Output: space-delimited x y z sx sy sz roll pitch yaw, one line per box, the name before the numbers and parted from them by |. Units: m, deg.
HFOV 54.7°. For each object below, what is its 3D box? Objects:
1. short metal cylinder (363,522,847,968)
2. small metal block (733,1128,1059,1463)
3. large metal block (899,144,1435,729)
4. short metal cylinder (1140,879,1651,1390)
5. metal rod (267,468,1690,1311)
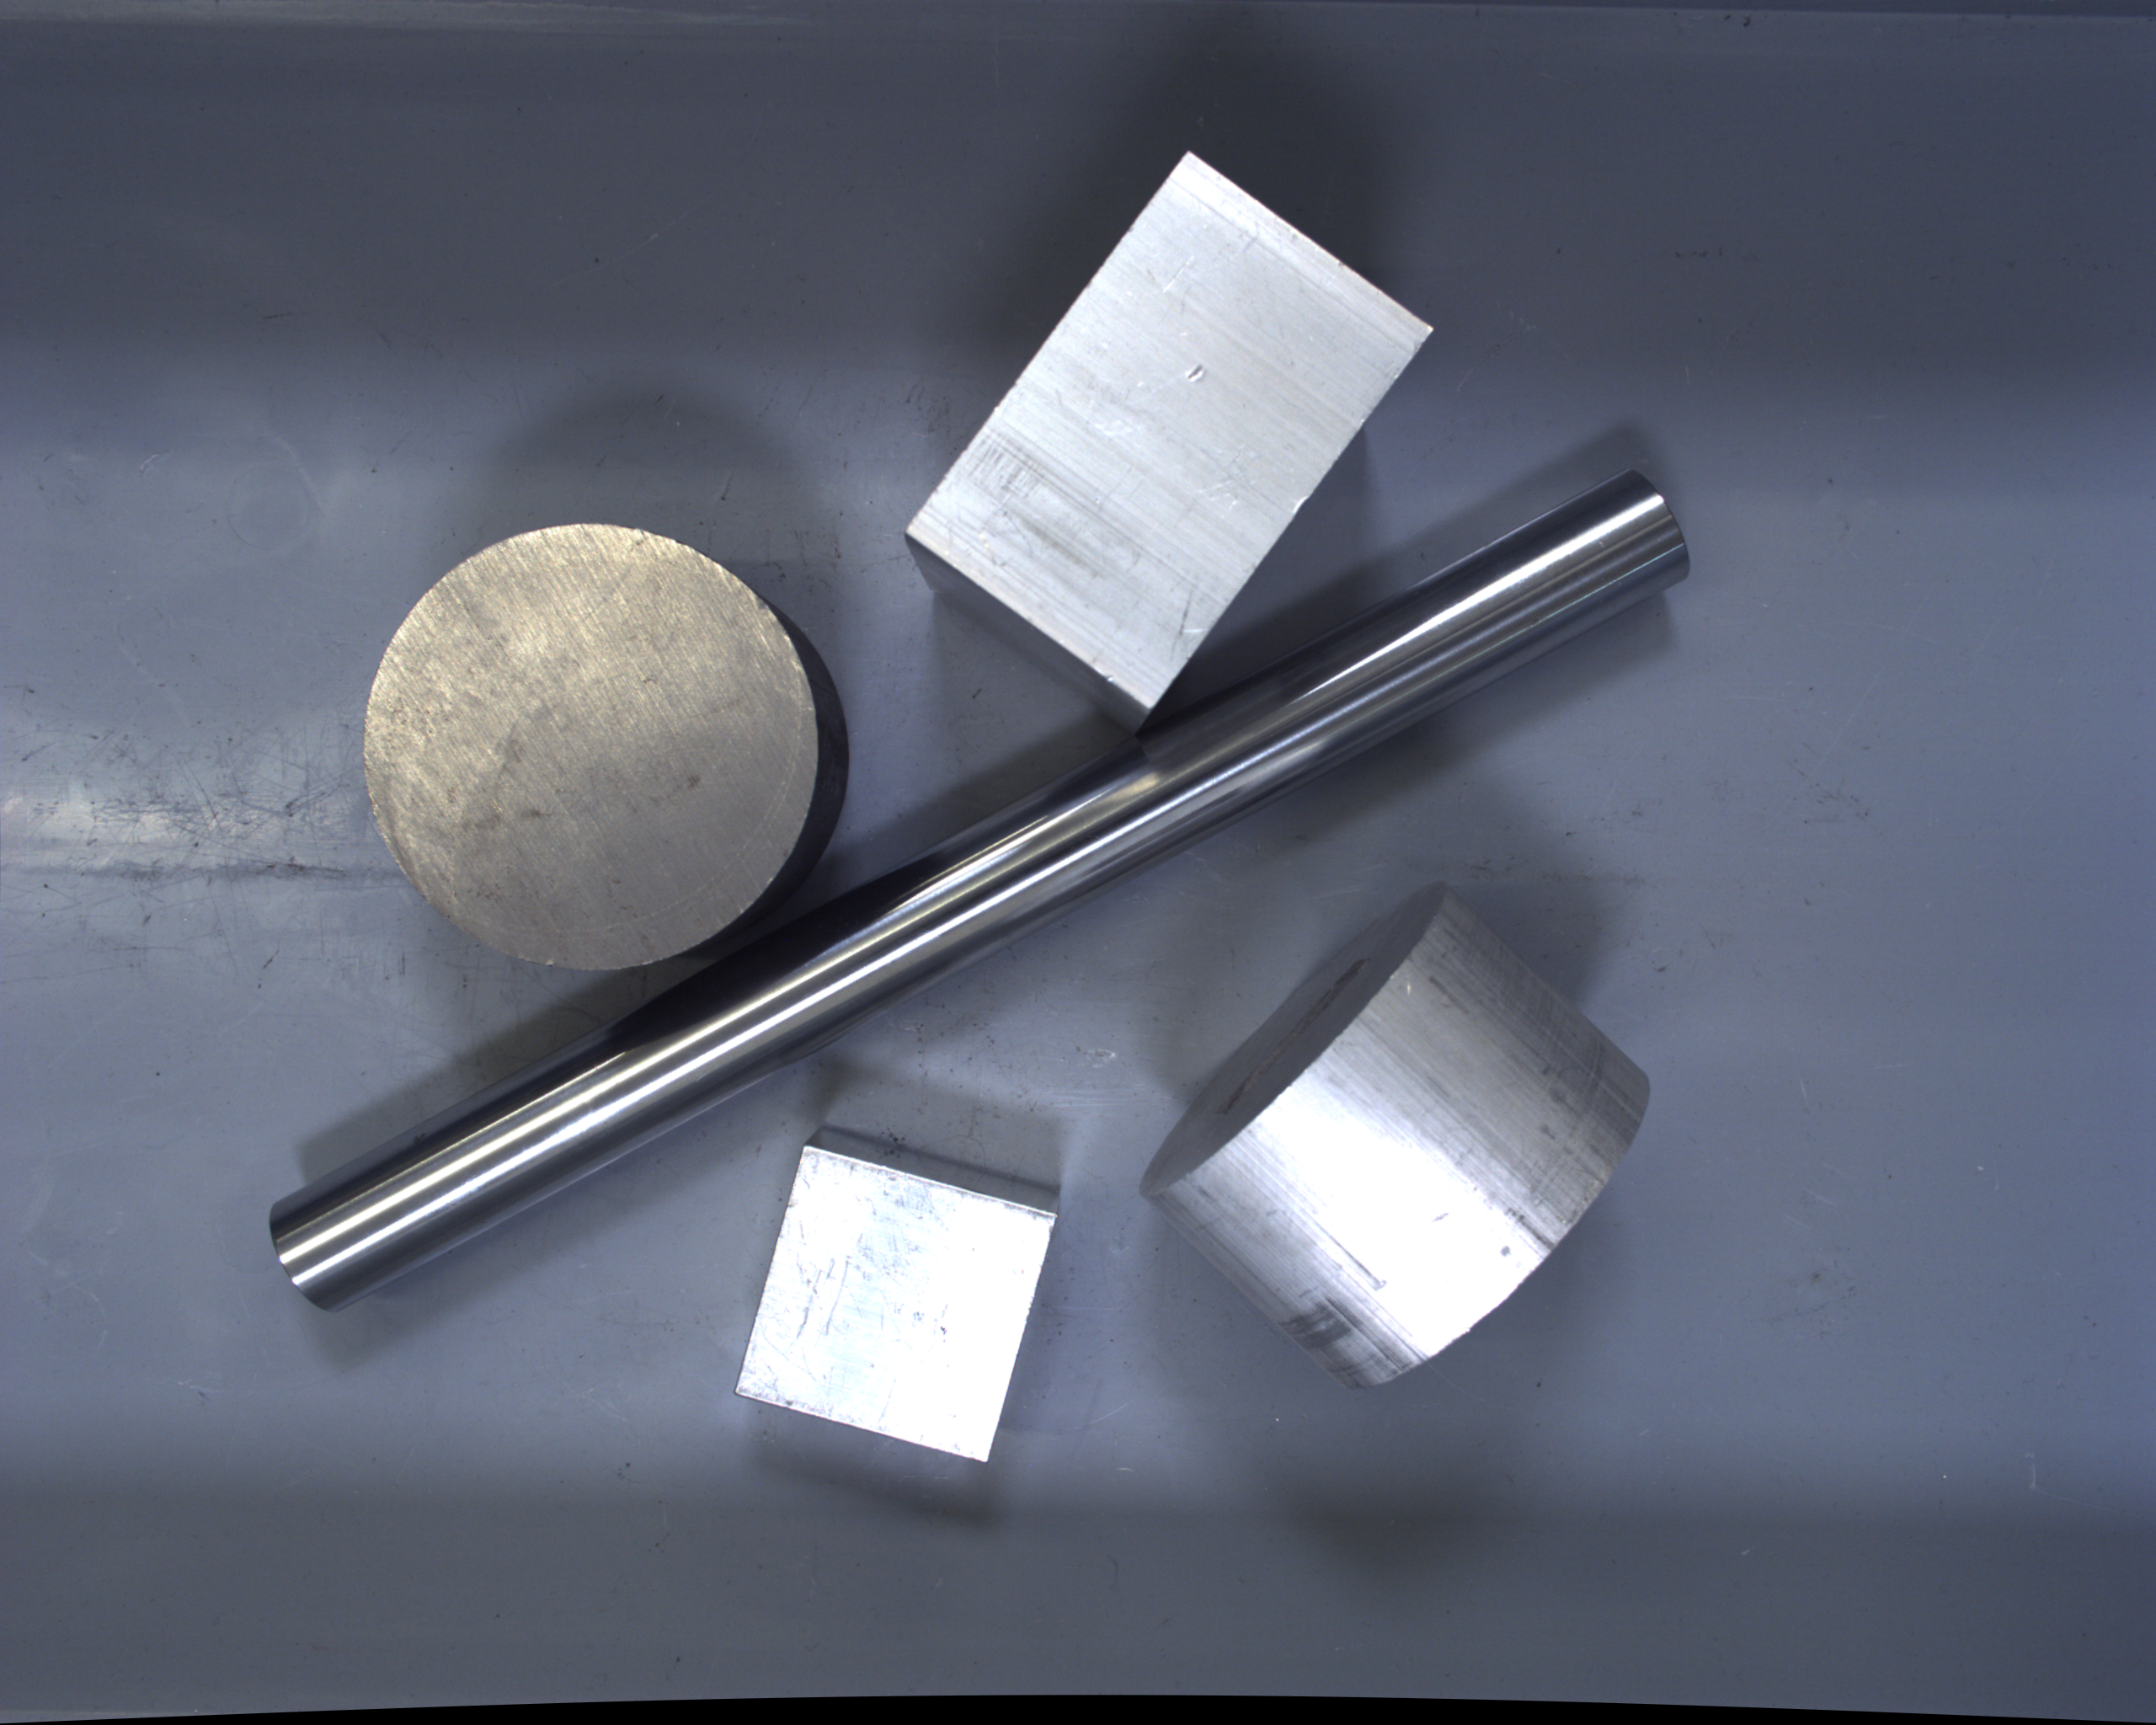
short metal cylinder | -0.087 -0.021 0.396 0.081 0.050 0.079 0 90 0
small metal block | -0.035 0.084 0.410 0.050 0.025 0.050 15 90 0
large metal block | 0.015 -0.072 0.383 0.050 0.080 0.080 36 90 0
short metal cylinder | 0.057 0.049 0.383 0.050 0.080 0.080 44 90 -1
metal rod | -0.019 0.005 0.410 0.301 0.025 0.025 -28 90 0
